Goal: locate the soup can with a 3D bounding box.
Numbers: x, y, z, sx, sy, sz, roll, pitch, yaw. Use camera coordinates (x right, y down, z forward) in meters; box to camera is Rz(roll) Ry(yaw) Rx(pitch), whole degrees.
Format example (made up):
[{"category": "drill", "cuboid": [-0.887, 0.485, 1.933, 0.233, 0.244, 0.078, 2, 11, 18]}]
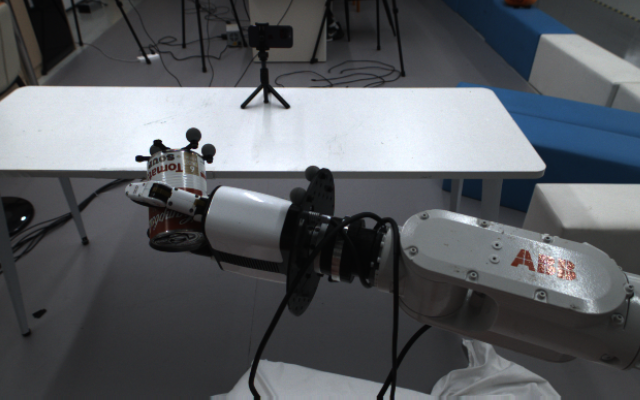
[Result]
[{"category": "soup can", "cuboid": [-0.161, 0.002, 0.556, 0.067, 0.067, 0.101, -6, 67, -12]}]
